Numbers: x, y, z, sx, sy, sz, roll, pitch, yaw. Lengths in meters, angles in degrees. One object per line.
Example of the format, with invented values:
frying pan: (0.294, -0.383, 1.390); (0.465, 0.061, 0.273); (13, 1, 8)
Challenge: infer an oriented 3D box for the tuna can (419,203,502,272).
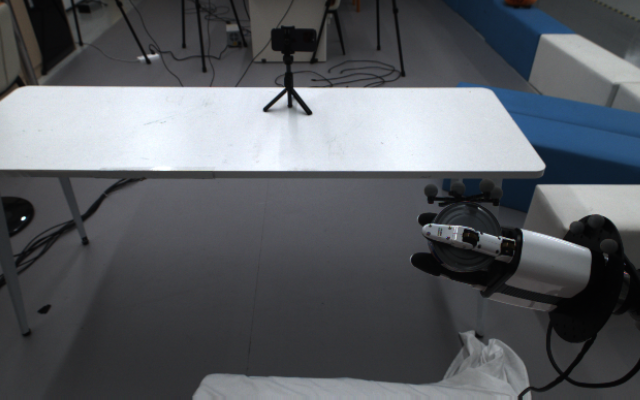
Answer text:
tuna can: (0.179, 0.044, 0.599); (0.085, 0.034, 0.085); (-1, 75, 4)
